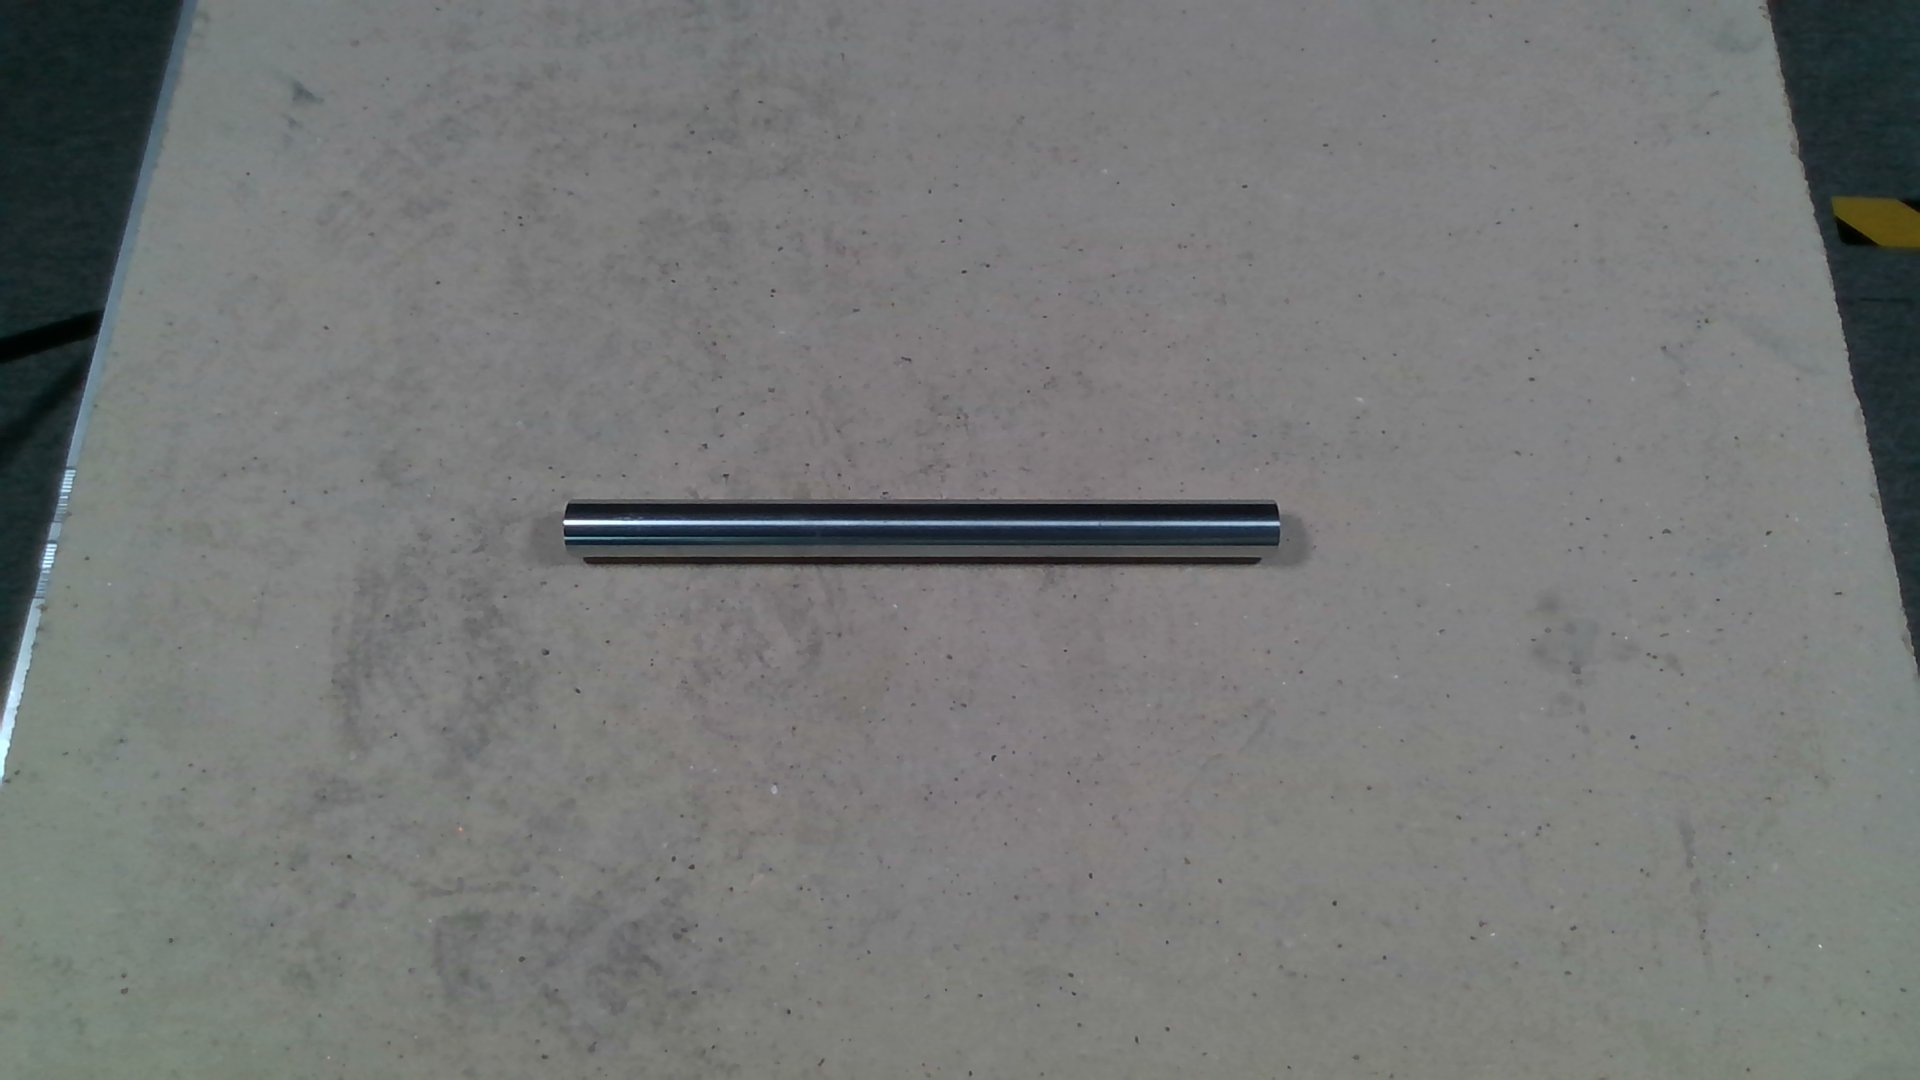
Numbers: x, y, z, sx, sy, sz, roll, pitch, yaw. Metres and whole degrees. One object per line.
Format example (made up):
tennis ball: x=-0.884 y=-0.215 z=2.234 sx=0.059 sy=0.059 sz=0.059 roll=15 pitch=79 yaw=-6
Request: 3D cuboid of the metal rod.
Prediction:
metal rod: x=-0.016 y=-0.006 z=0.590 sx=0.300 sy=0.025 sz=0.025 roll=0 pitch=70 yaw=0
